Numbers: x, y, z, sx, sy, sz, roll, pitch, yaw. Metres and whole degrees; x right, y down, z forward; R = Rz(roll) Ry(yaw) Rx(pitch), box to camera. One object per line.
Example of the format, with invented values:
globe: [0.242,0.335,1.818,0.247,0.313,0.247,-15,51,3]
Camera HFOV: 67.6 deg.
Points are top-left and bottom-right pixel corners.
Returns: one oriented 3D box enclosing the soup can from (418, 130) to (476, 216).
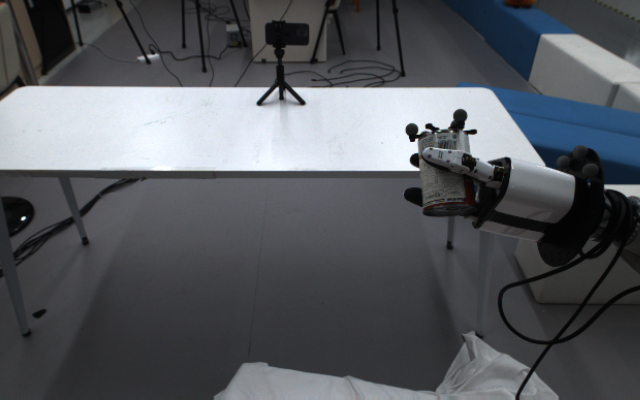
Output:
soup can: [0.167,-0.035,0.634,0.067,0.067,0.101,-2,76,-5]
